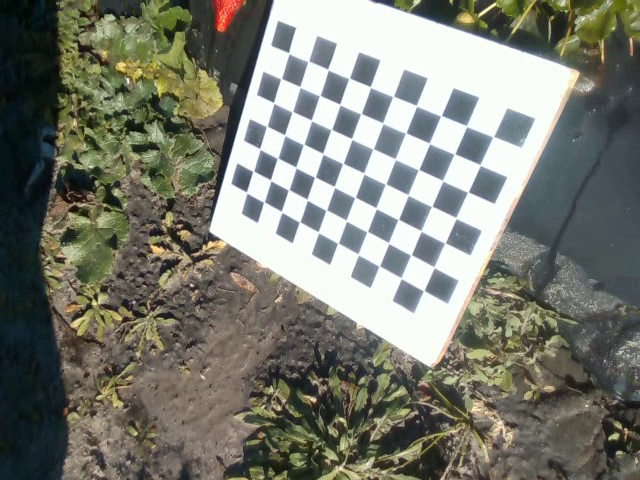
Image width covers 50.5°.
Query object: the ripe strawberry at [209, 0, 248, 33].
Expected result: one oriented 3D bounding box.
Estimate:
[{"bbox_3d":[-0.096,-0.236,0.677,0.048,0.069,0.040,9,6,34],"label":"ripe strawberry"}]
